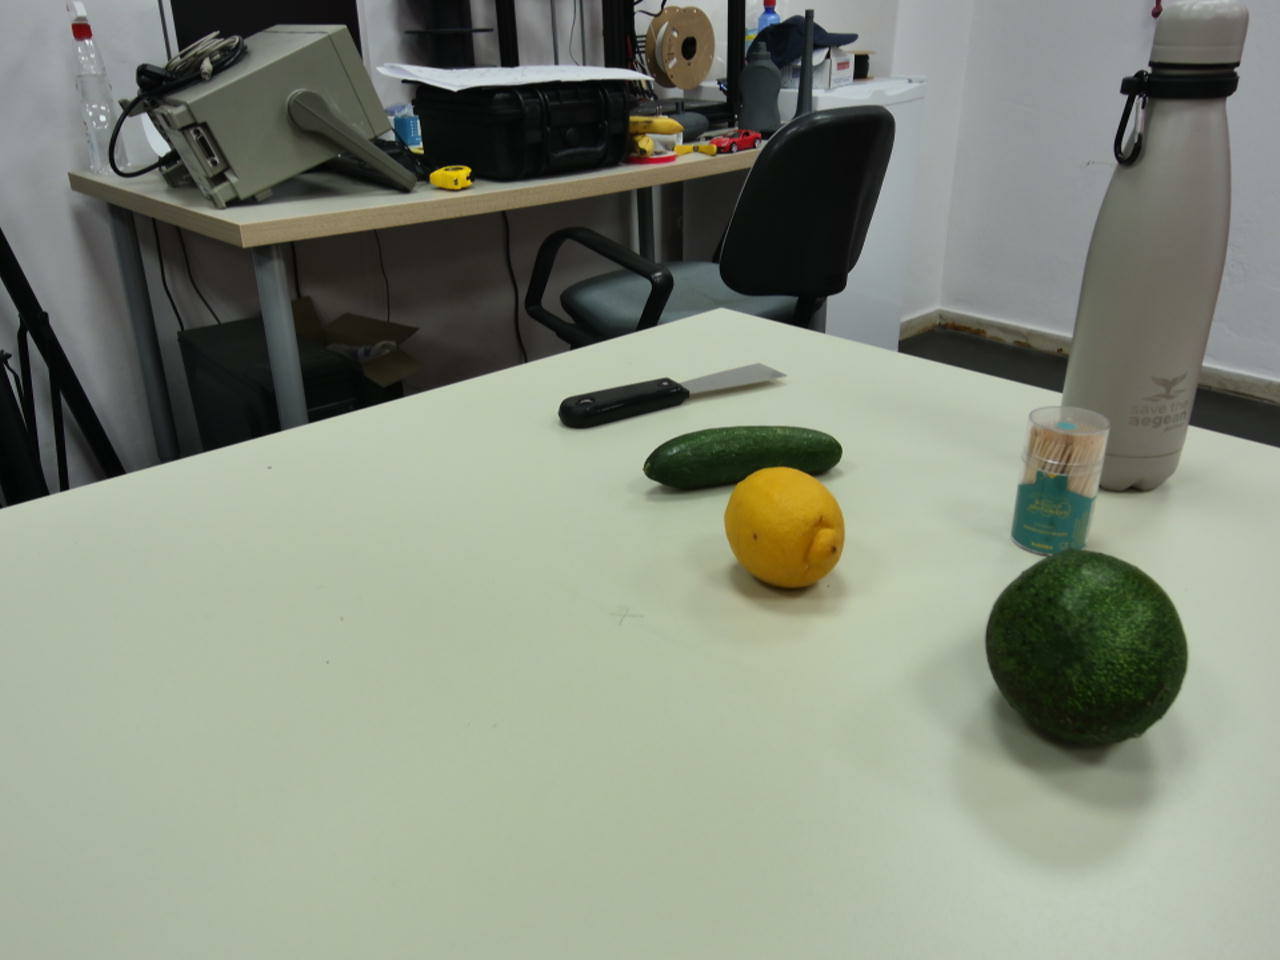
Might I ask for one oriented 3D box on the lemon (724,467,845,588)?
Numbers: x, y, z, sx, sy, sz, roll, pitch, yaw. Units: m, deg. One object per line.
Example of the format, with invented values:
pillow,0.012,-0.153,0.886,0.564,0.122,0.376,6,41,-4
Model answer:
lemon,0.075,0.025,0.522,0.061,0.059,0.067,0,23,1
